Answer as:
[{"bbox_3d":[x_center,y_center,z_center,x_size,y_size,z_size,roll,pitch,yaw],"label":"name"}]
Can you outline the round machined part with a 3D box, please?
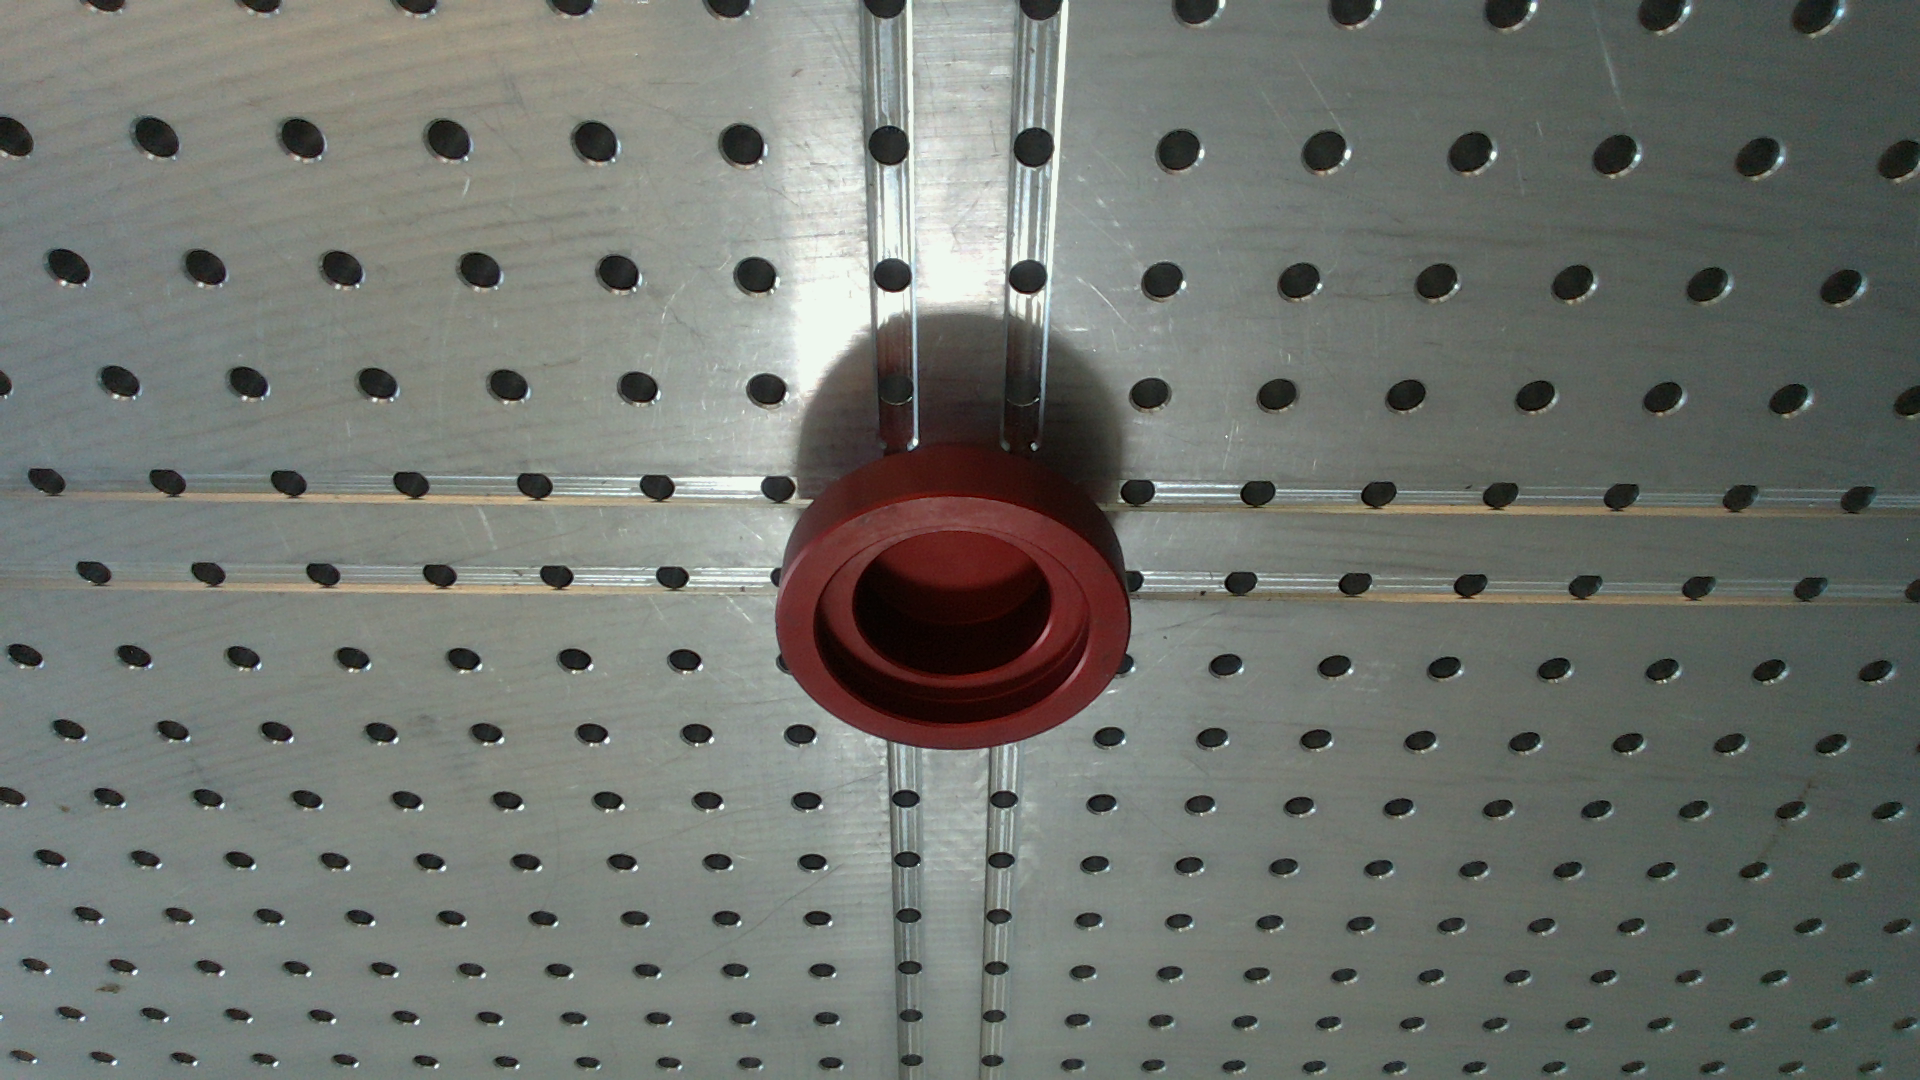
[{"bbox_3d":[-0.002,0.012,0.392,0.098,0.042,0.098,0,130,0],"label":"round machined part"}]
